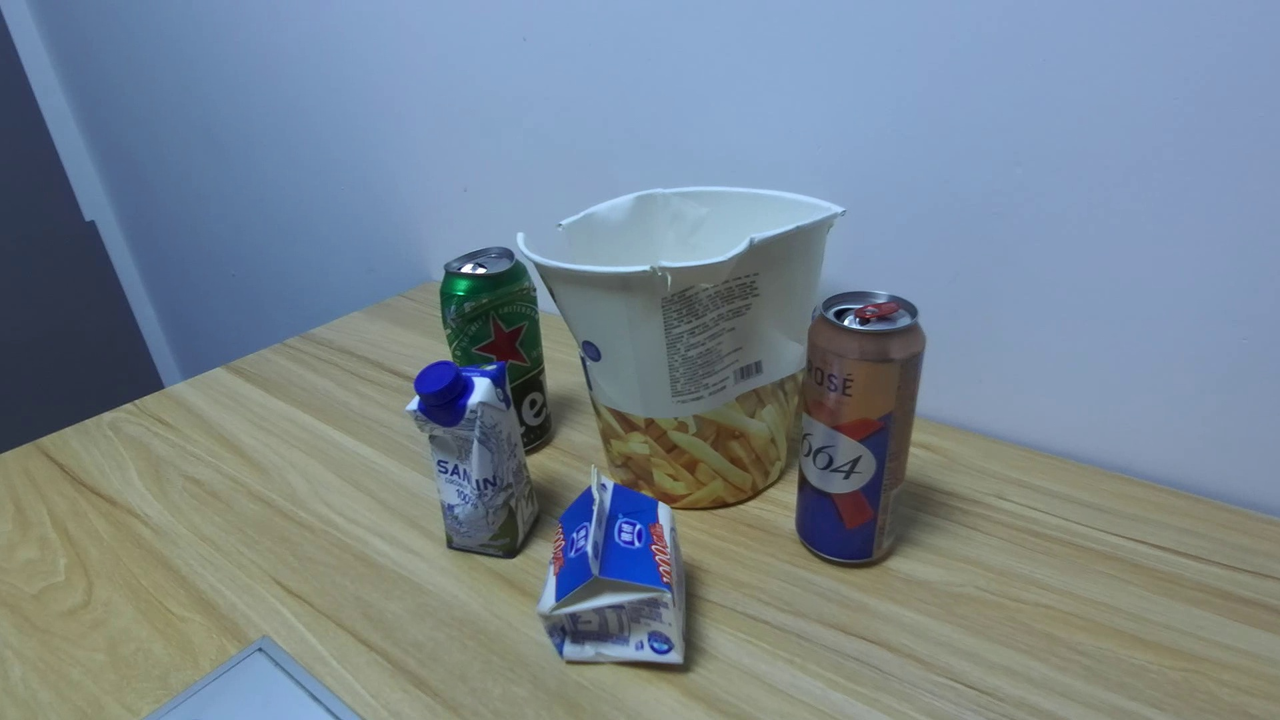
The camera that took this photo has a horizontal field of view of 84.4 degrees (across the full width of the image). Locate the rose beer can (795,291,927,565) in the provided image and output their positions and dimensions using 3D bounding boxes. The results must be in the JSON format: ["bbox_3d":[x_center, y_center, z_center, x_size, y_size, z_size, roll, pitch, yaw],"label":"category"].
[{"bbox_3d":[0.134,0.046,0.440,0.068,0.169,0.068,-2,28,1],"label":"rose beer can"}]

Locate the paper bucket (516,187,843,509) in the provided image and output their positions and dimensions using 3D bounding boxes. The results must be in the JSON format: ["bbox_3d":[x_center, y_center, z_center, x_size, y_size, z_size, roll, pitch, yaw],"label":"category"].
[{"bbox_3d":[0.035,-0.011,0.525,0.203,0.197,0.145,-26,34,-36],"label":"paper bucket"}]

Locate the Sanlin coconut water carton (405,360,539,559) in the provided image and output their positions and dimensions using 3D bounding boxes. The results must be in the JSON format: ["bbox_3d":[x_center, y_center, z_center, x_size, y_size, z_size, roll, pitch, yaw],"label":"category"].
[{"bbox_3d":[-0.111,0.059,0.473,0.060,0.144,0.070,4,29,18],"label":"Sanlin coconut water carton"}]

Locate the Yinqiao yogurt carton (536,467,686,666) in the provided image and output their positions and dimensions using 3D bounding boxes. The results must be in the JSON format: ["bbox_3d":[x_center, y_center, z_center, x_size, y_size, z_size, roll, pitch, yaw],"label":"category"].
[{"bbox_3d":[-0.019,0.117,0.400,0.080,0.097,0.074,-10,28,6],"label":"Yinqiao yogurt carton"}]

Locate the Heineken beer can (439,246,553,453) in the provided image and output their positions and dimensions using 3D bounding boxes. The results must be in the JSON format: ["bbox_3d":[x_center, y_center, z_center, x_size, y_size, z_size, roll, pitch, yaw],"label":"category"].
[{"bbox_3d":[-0.111,-0.005,0.573,0.078,0.164,0.066,-14,26,-15],"label":"Heineken beer can"}]
